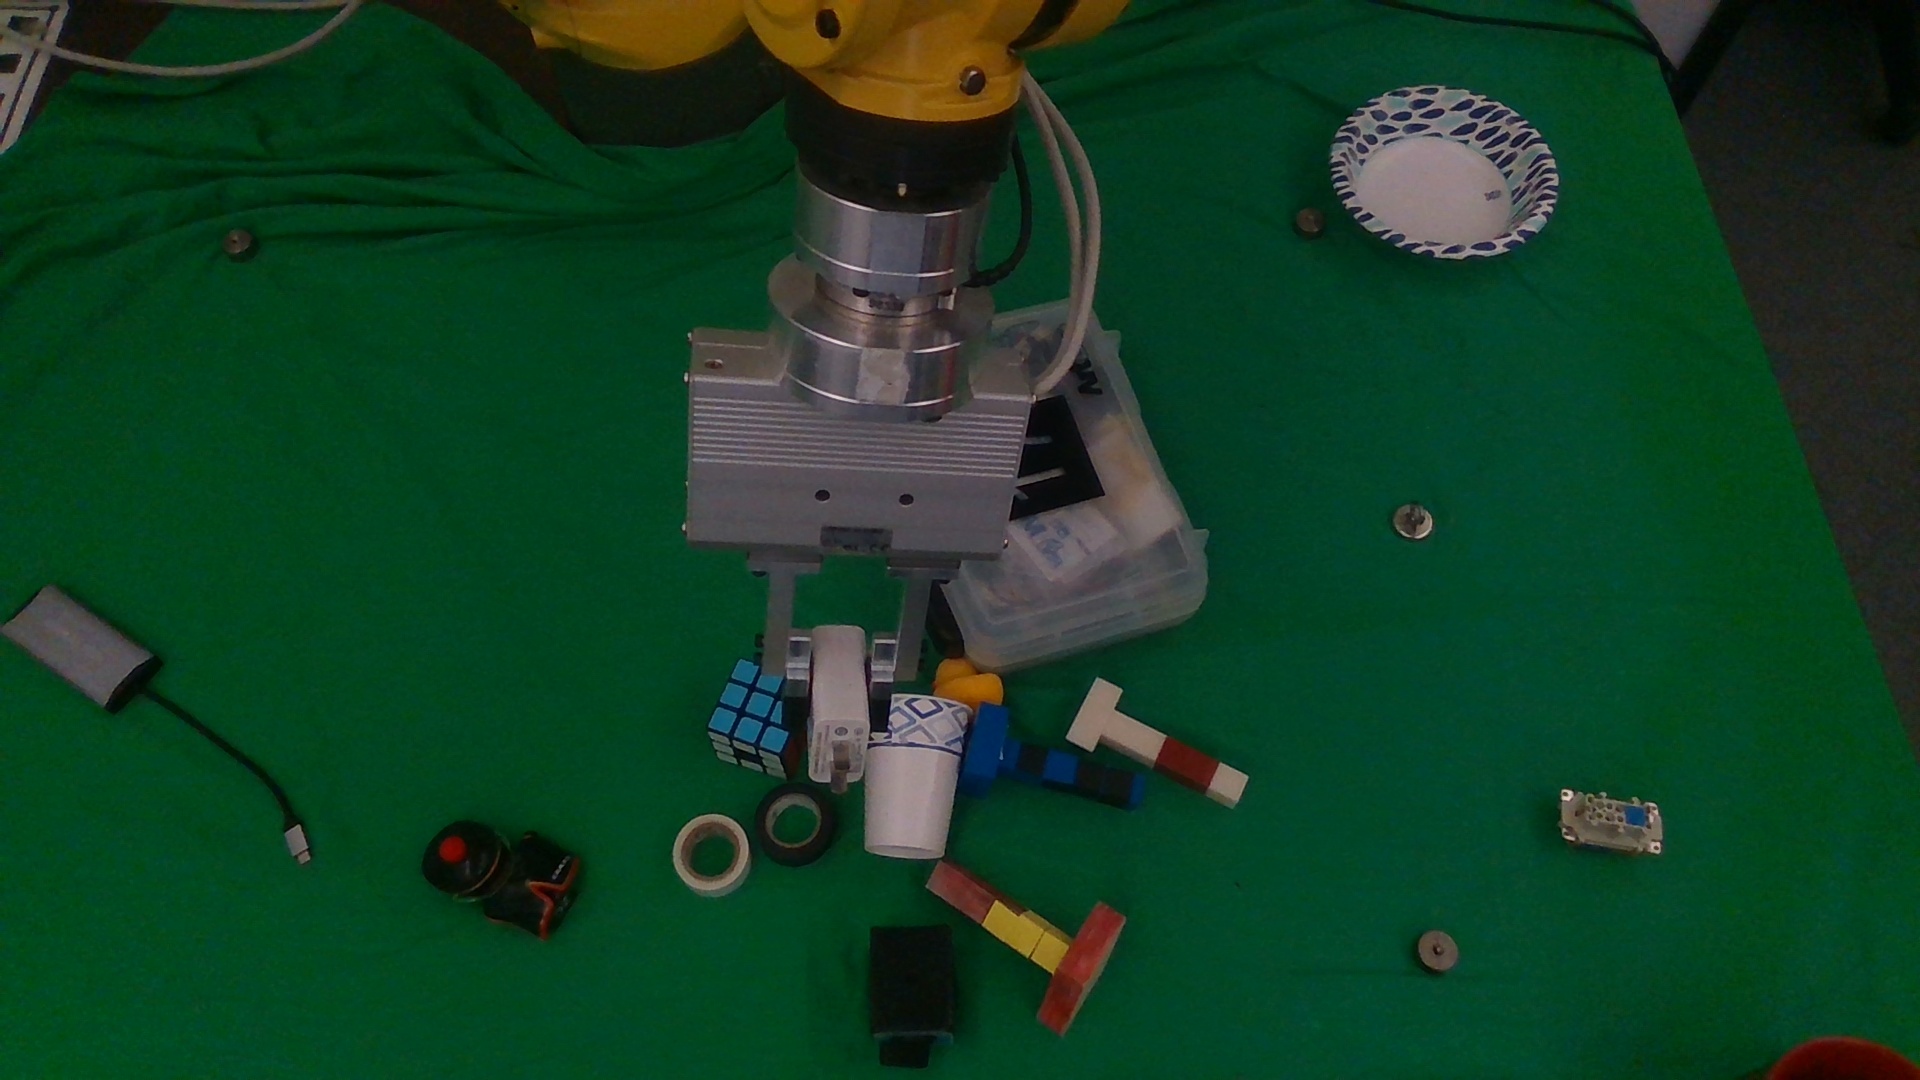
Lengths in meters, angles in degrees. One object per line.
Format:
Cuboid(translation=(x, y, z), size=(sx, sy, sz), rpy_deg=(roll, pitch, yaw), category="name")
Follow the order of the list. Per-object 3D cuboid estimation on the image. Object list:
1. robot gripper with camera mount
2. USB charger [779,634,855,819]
Cuboid(translation=(-0.050, -0.028, 0.593), size=(0.119, 0.158, 0.193), rpy_deg=(5, 32, -5), category="robot gripper with camera mount")
Cuboid(translation=(-0.057, 0.077, 0.557), size=(0.029, 0.044, 0.075), rpy_deg=(3, 41, -7), category="USB charger")
